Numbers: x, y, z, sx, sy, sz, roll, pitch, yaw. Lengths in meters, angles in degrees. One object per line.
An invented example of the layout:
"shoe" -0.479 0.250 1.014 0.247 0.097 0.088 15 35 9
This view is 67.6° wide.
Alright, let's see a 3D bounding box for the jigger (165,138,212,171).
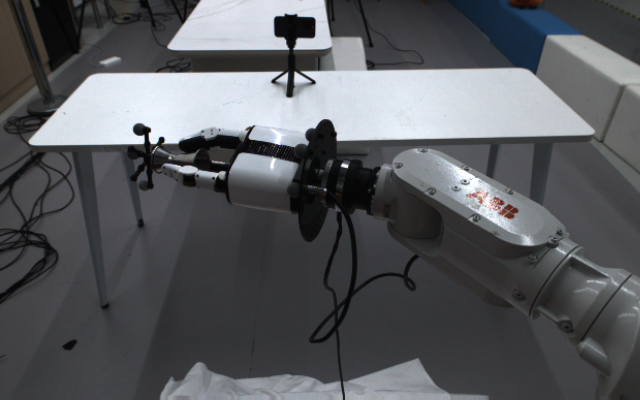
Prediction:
"jigger" -0.187 -0.055 0.672 0.071 0.043 0.043 7 35 14
